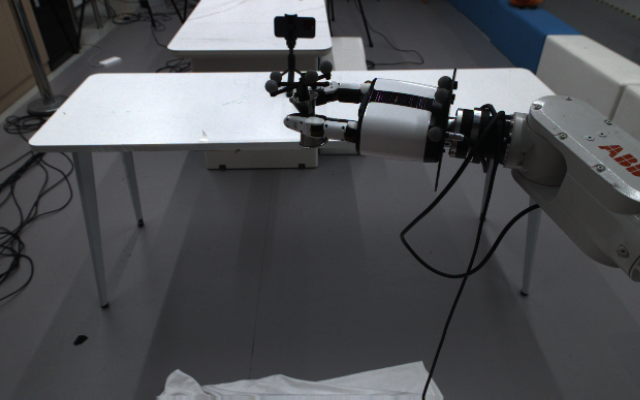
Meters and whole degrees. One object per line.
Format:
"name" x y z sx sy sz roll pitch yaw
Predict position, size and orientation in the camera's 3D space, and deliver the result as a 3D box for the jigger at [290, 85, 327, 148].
"jigger" -0.015 -0.112 0.671 0.043 0.071 0.043 -10 32 6
